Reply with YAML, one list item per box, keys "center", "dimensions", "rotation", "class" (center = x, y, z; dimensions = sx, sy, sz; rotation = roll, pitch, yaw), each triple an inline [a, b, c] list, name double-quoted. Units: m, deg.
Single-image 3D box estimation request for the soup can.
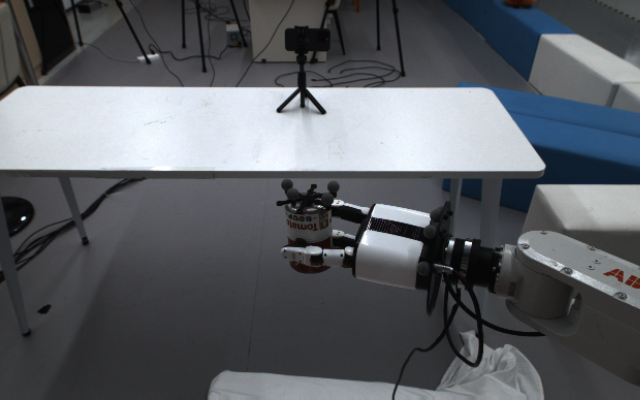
- center: [-0.013, 0.046, 0.708]
  dimensions: [0.067, 0.101, 0.067]
  rotation: [-3, 27, 2]
  class: "soup can"
